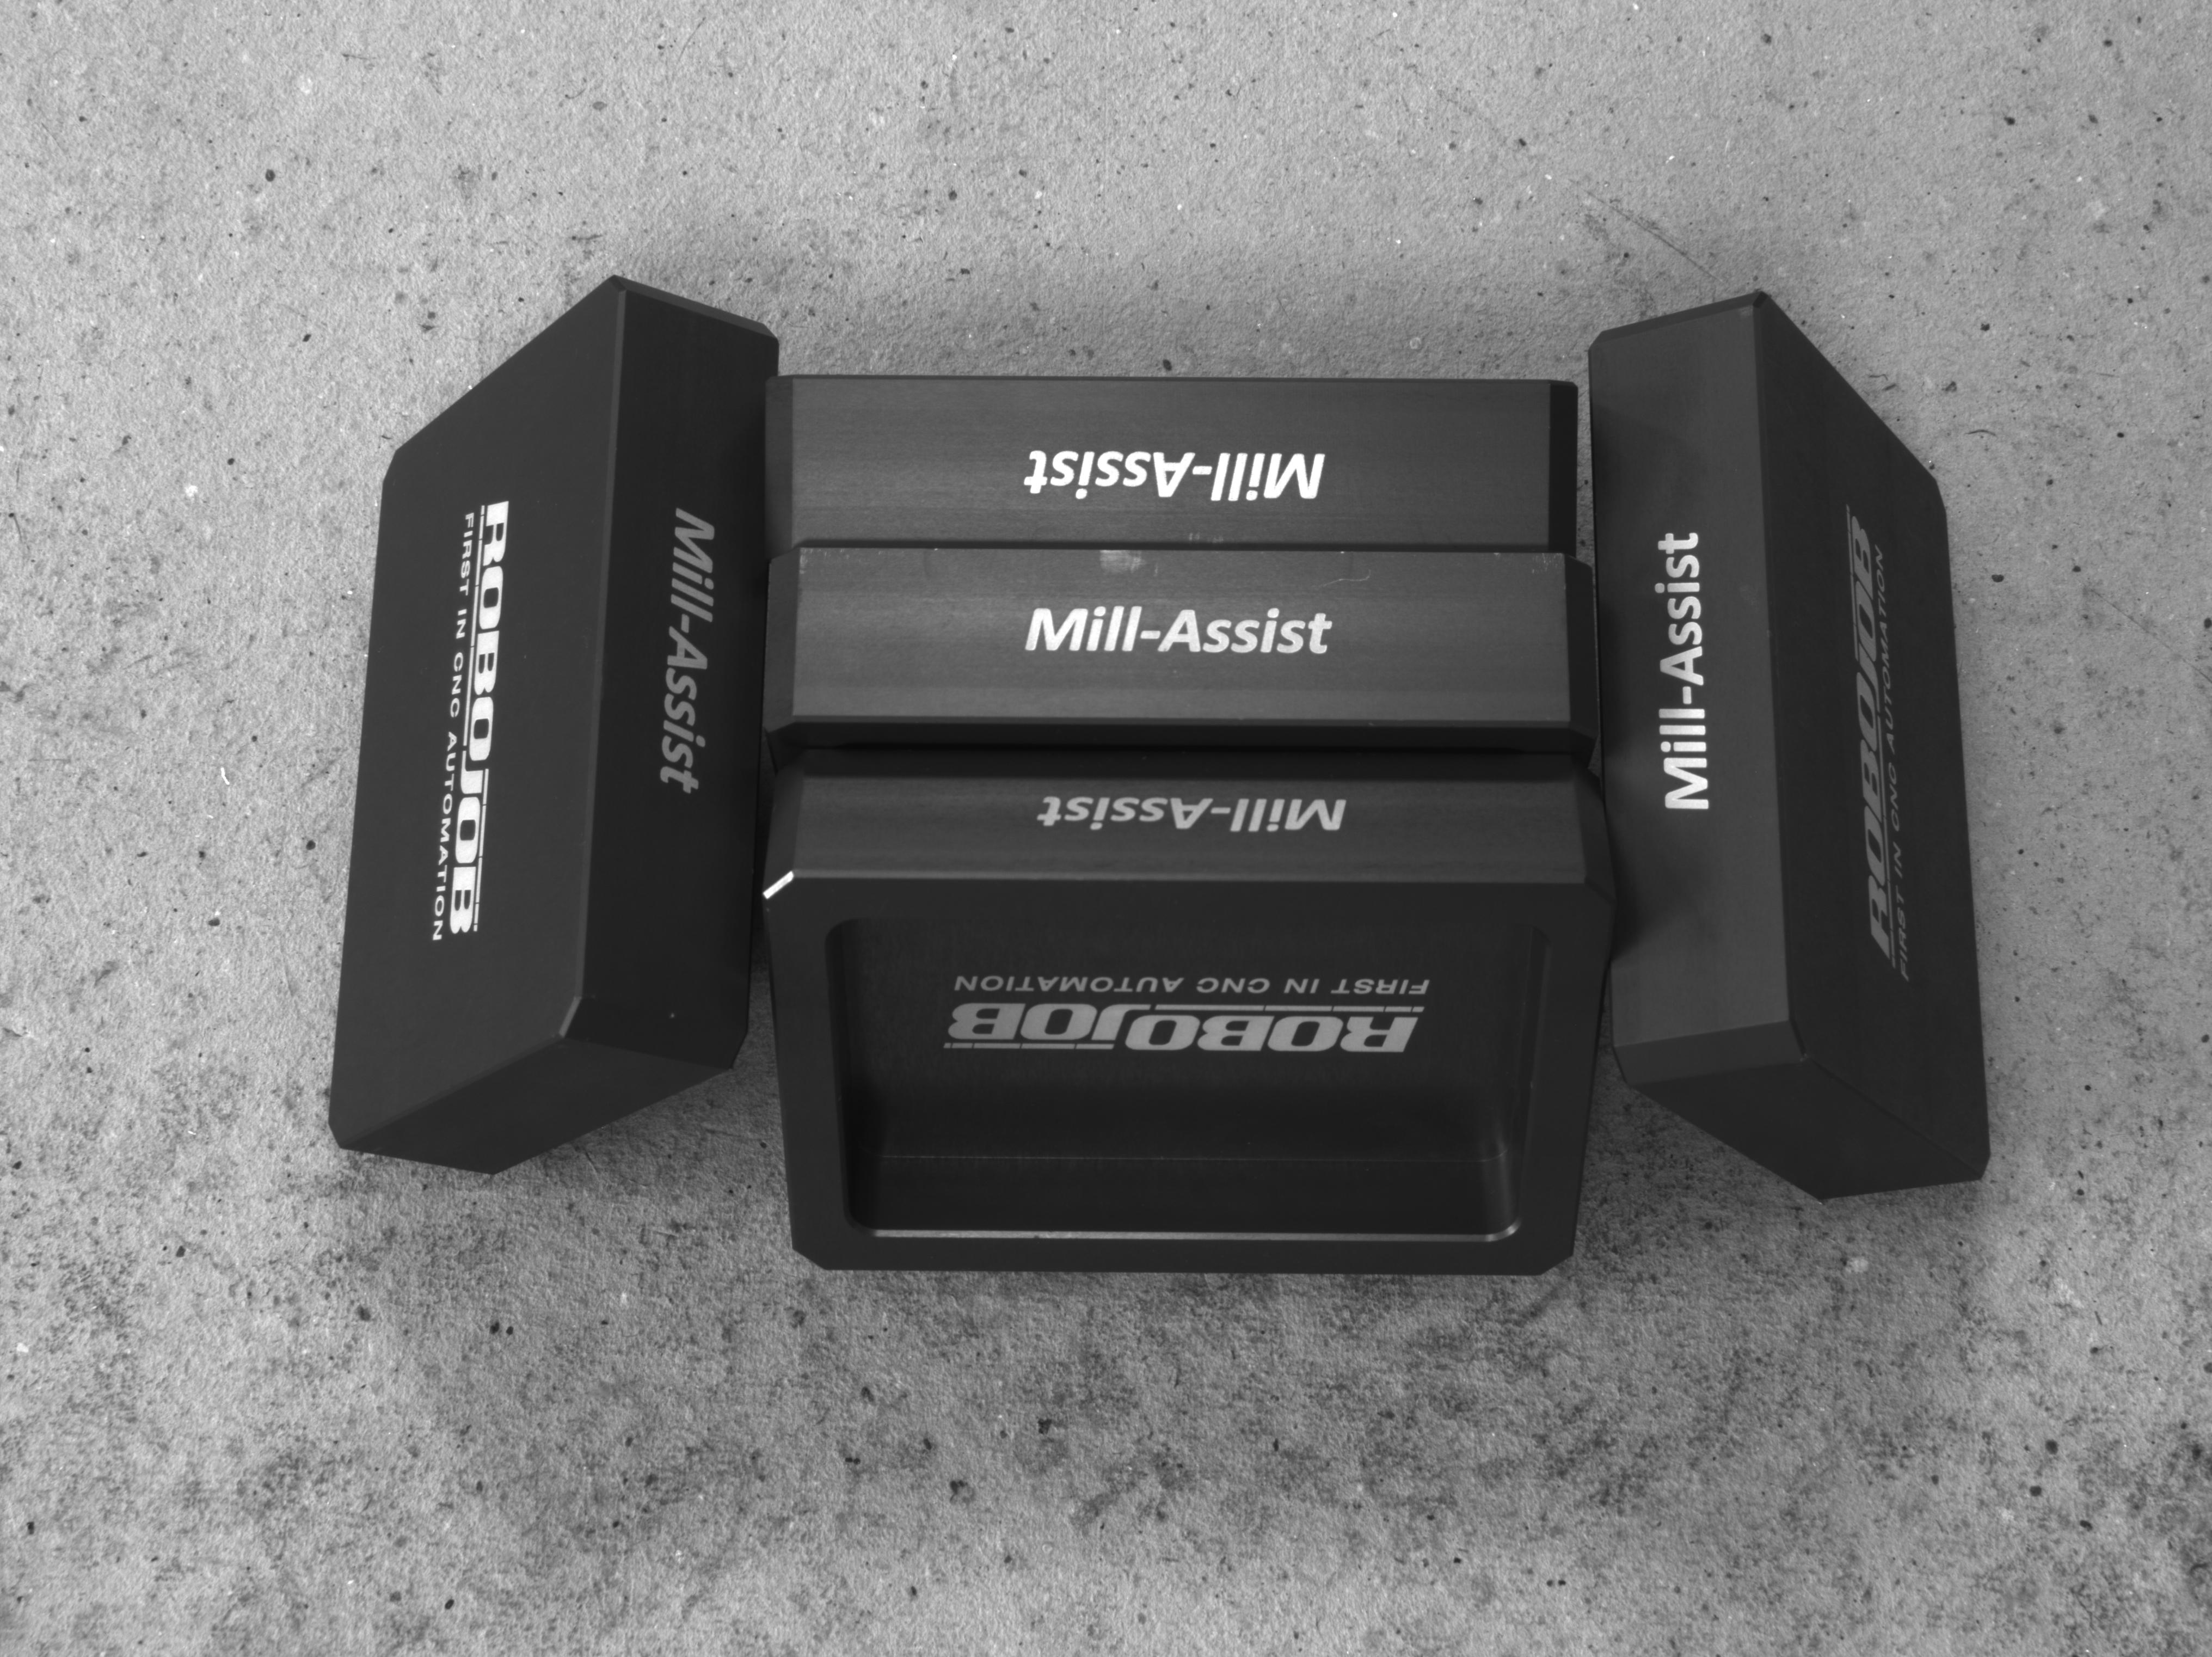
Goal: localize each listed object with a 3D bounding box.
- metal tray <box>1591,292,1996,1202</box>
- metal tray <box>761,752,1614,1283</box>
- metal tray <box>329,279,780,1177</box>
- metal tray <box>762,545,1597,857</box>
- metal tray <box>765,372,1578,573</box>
[{"bbox_3d":[0.115,-0.012,0.614,0.030,0.090,0.130,-11,67,30],"label":"metal tray"},{"bbox_3d":[0.013,0.032,0.598,0.130,0.090,0.030,1,41,0],"label":"metal tray"},{"bbox_3d":[-0.093,-0.015,0.617,0.030,0.090,0.130,15,66,-33],"label":"metal tray"},{"bbox_3d":[0.012,-0.015,0.616,0.130,0.090,0.030,0,70,0],"label":"metal tray"},{"bbox_3d":[0.011,-0.059,0.630,0.130,0.090,0.030,0,92,0],"label":"metal tray"}]
